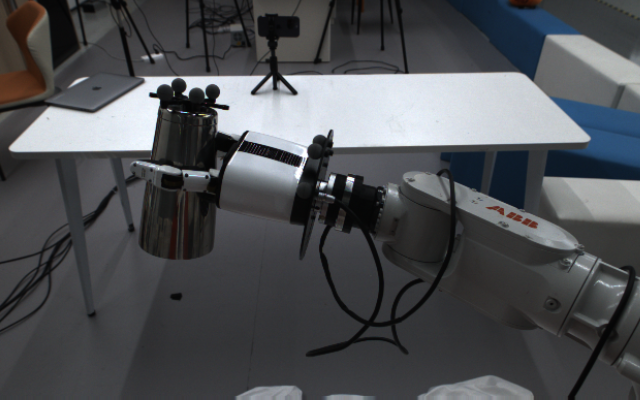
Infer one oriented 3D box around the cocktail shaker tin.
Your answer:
[{"bbox_3d":[-0.164,-0.025,0.580,0.093,0.170,0.093,10,19,-3],"label":"cocktail shaker tin"}]
